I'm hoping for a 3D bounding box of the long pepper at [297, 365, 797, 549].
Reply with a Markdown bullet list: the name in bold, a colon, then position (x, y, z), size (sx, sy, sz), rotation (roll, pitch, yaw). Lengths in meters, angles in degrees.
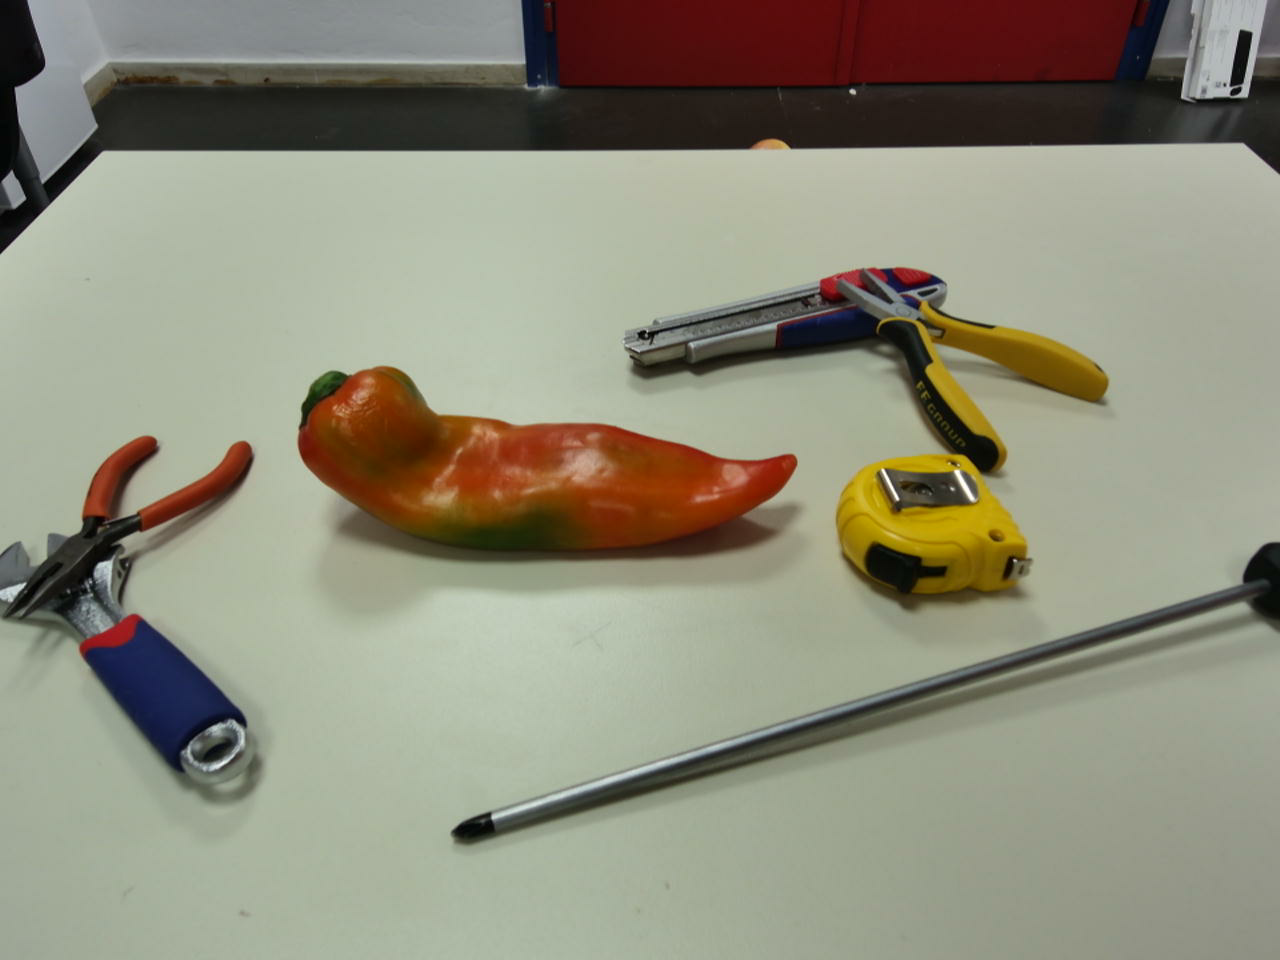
- **long pepper**: position (-0.036, -0.011, 0.402), size (0.199, 0.065, 0.066), rotation (3, 39, 4)
